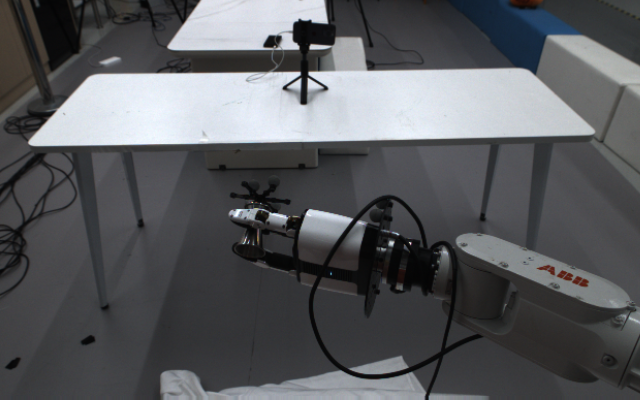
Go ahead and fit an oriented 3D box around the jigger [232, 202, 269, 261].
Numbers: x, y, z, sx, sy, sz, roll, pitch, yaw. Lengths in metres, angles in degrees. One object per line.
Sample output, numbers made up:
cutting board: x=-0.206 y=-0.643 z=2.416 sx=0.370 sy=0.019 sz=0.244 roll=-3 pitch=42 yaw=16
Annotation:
jigger: x=-0.096 y=0.041 z=0.683 sx=0.043 sy=0.043 sz=0.071 roll=6 pitch=61 yaw=5
